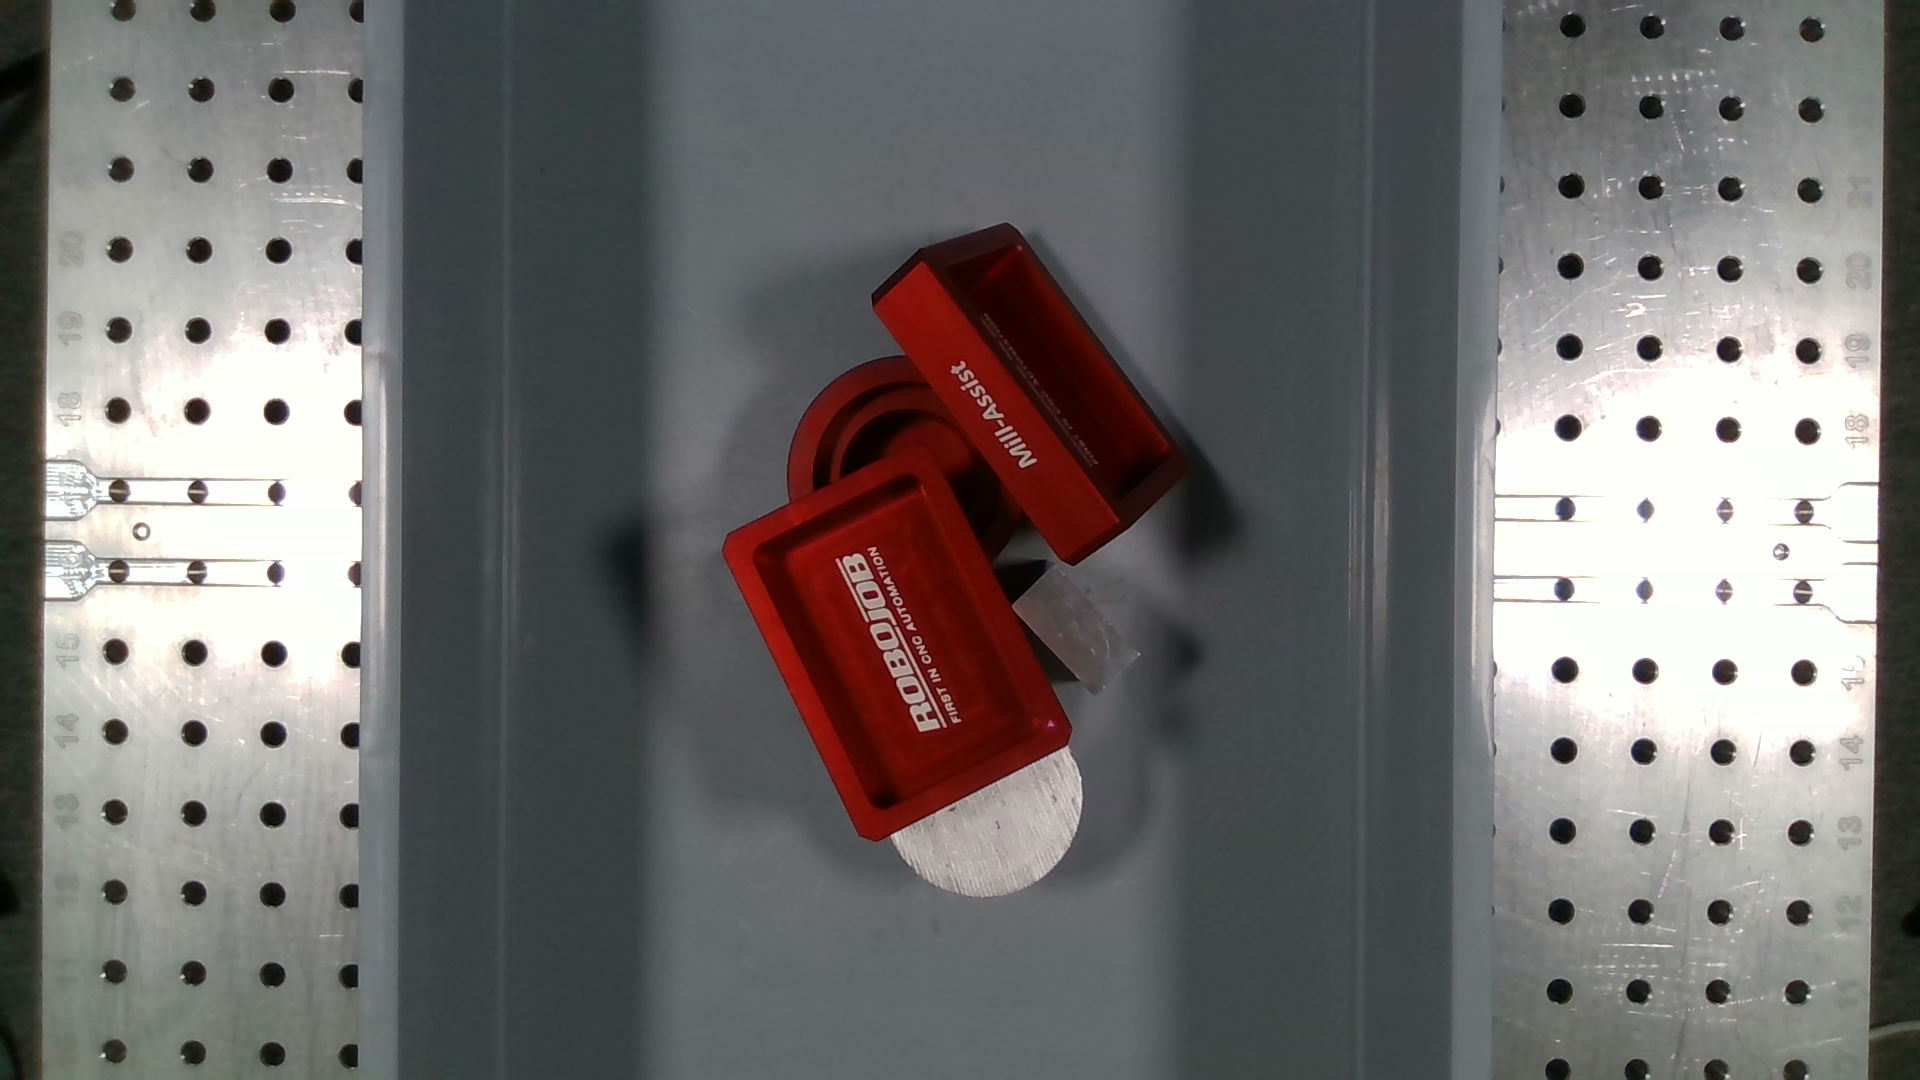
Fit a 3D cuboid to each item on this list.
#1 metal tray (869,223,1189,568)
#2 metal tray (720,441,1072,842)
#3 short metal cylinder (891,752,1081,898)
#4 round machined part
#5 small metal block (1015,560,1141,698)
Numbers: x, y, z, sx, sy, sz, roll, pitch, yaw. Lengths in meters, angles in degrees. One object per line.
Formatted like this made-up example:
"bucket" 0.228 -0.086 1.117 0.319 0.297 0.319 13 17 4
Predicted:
"metal tray" 0.031 -0.061 0.551 0.030 0.090 0.130 -36 91 32
"metal tray" -0.024 0.039 0.536 0.090 0.030 0.130 -27 86 -1
"short metal cylinder" 0.008 0.103 0.574 0.080 0.050 0.080 0 90 0
"round machined part" -0.022 -0.026 0.578 0.098 0.042 0.098 0 90 0
"small metal block" 0.046 0.036 0.573 0.025 0.050 0.050 -43 92 0
